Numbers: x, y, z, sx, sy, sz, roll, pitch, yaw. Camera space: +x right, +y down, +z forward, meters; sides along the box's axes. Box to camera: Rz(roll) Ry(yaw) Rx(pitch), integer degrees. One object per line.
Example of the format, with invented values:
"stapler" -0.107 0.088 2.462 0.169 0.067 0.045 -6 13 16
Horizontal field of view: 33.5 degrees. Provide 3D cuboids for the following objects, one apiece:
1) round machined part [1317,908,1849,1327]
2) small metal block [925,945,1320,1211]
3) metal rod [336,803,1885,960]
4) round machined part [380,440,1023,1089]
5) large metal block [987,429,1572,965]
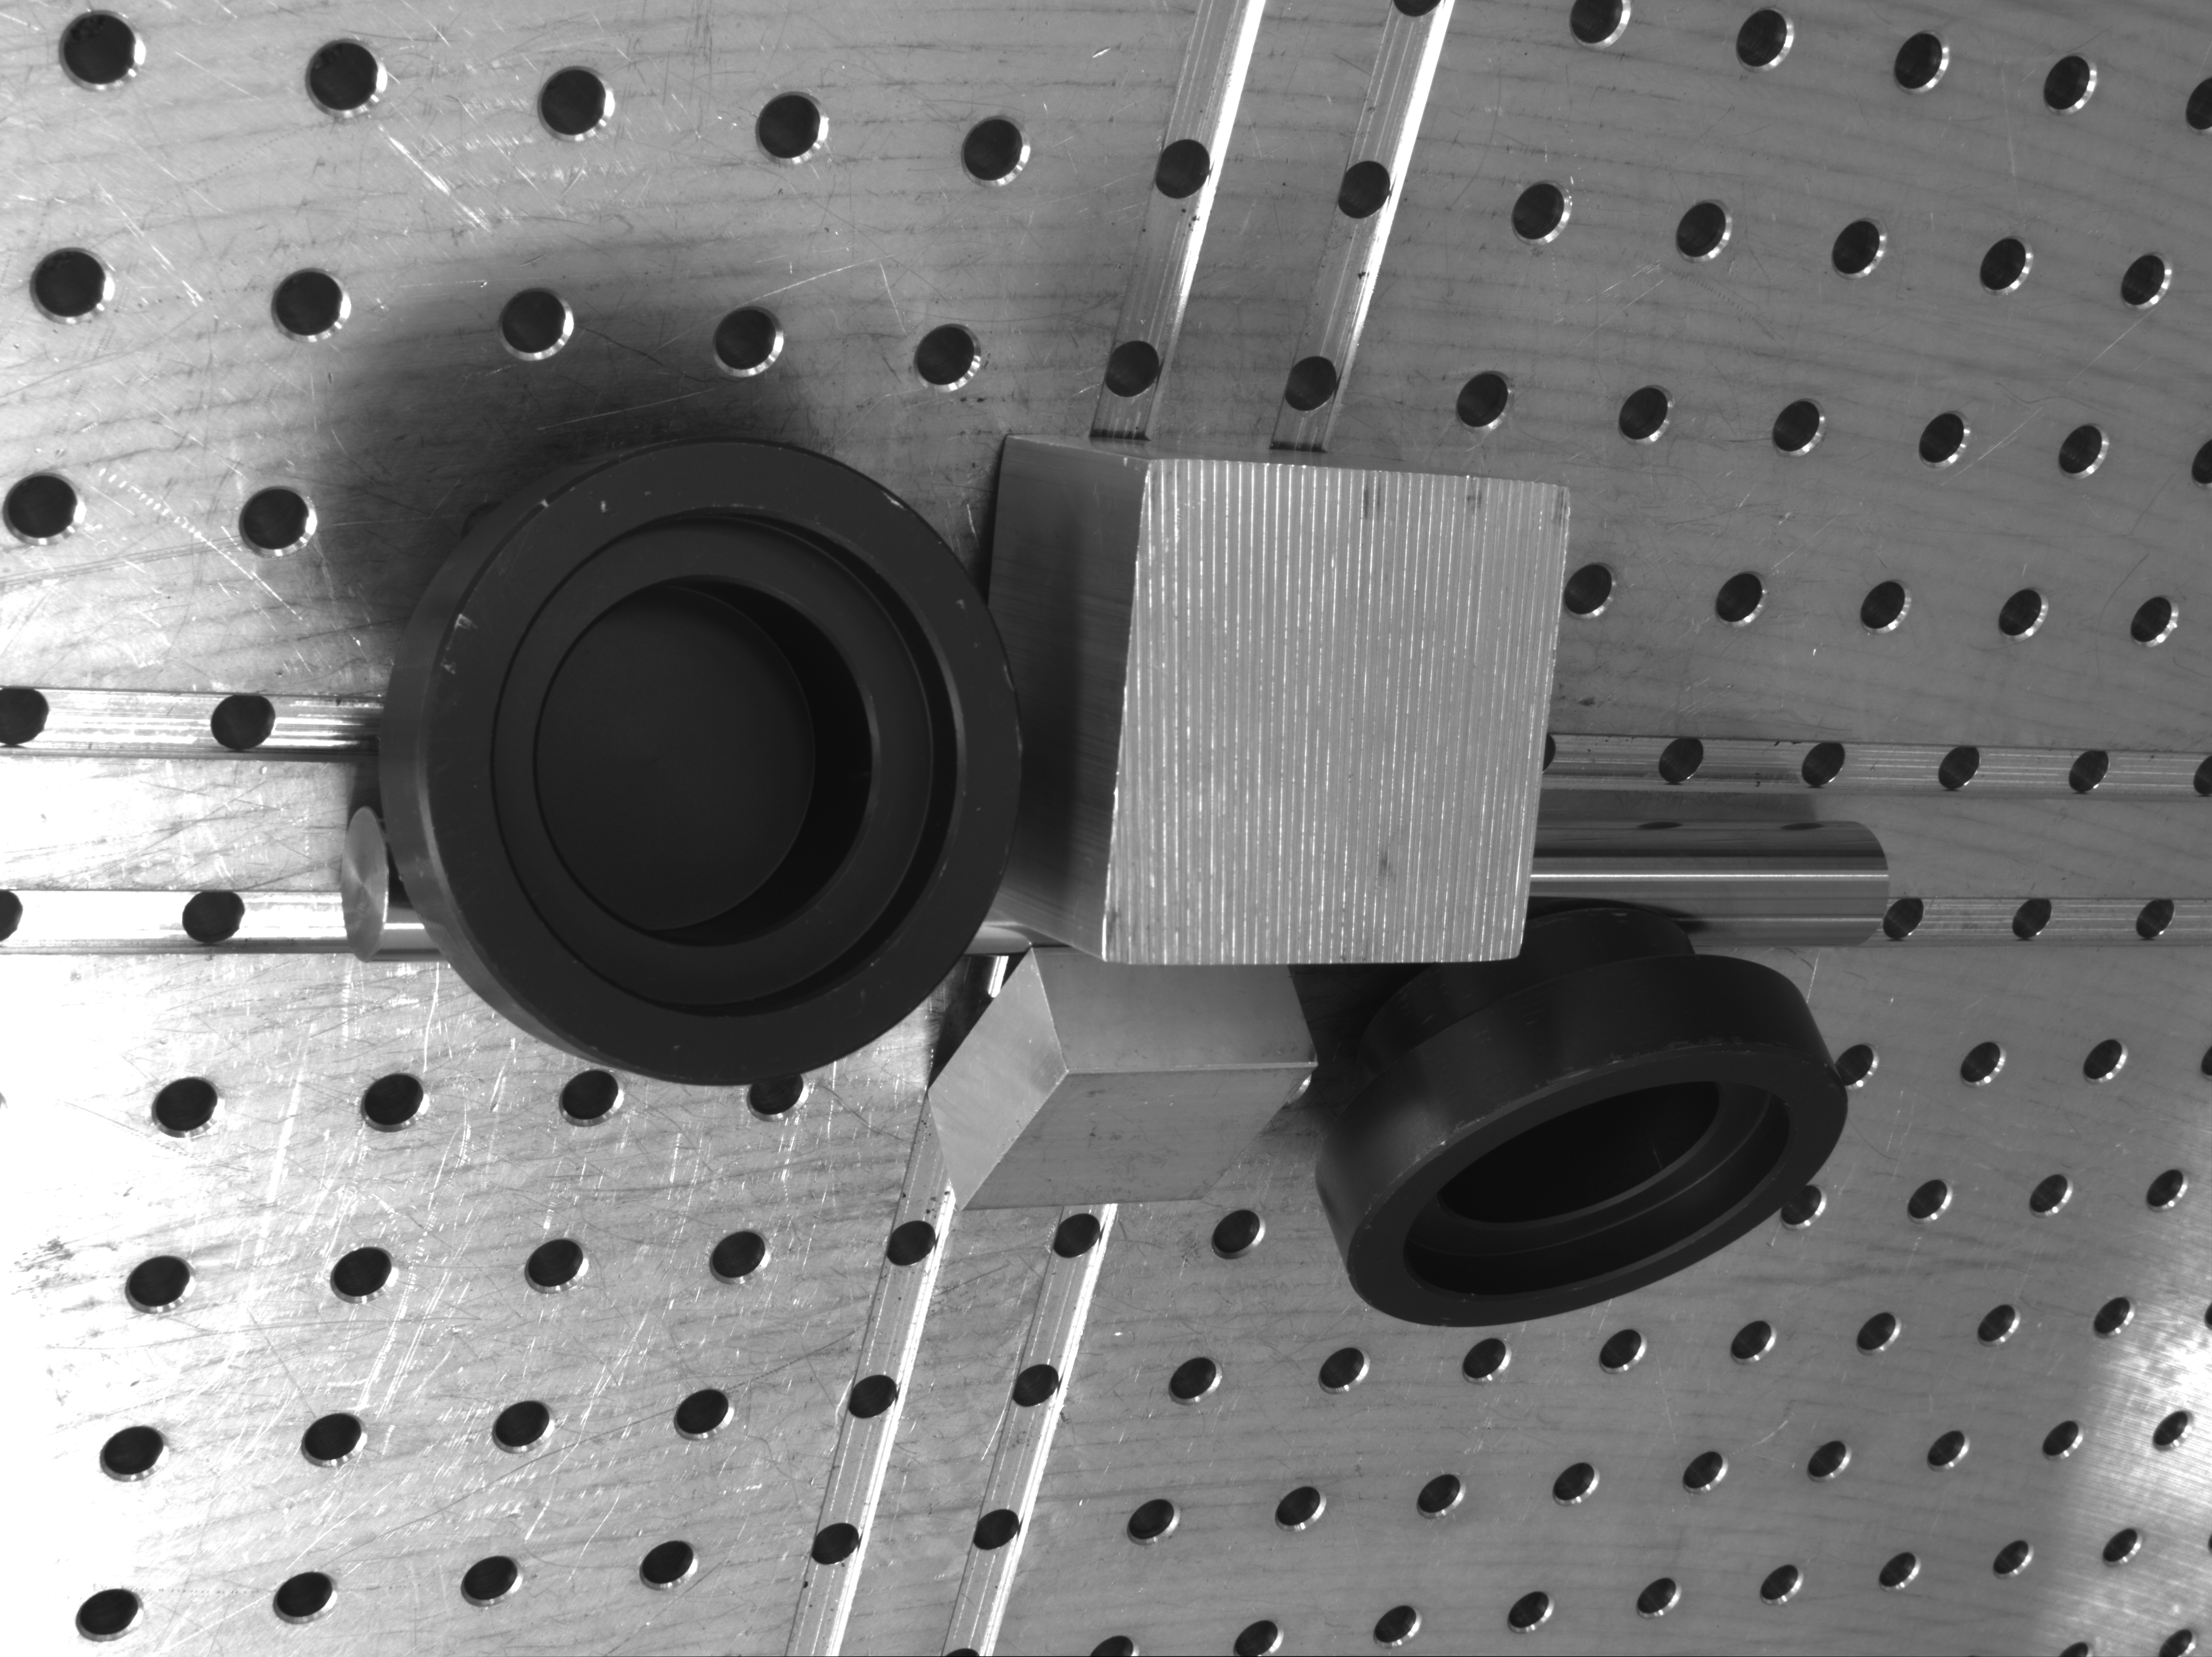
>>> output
"round machined part" 0.086 0.051 0.691 0.098 0.042 0.098 -14 148 -9
"small metal block" 0.002 0.044 0.657 0.050 0.025 0.050 1 146 -28
"metal rod" 0.014 0.009 0.655 0.301 0.025 0.025 0 118 -28
"round machined part" -0.066 -0.010 0.572 0.098 0.042 0.098 -1 93 -28
"large metal block" 0.026 -0.022 0.611 0.080 0.050 0.080 1 100 -29
